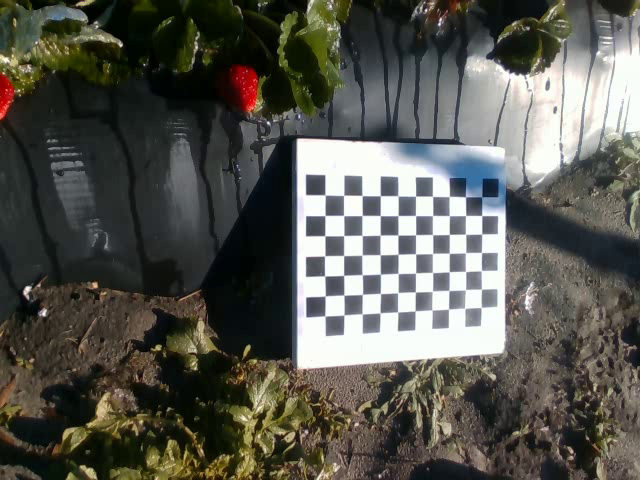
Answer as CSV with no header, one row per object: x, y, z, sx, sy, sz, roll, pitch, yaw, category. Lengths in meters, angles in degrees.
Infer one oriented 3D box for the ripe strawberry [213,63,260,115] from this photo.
-0.070,-0.131,0.531,0.041,0.053,0.047,-8,-34,-19,ripe strawberry
